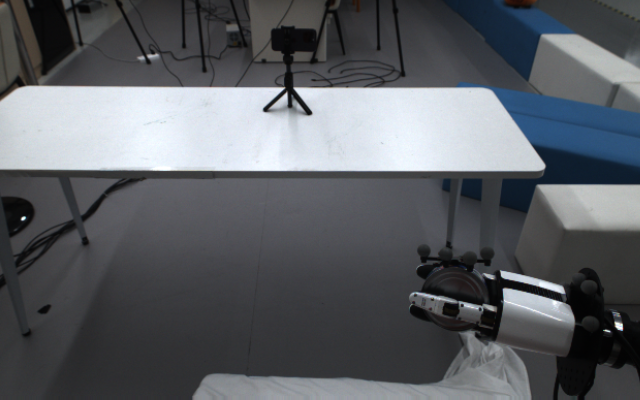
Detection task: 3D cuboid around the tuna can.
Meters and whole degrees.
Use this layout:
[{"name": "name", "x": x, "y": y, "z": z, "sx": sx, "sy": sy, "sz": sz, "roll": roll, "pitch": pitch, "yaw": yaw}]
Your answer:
[{"name": "tuna can", "x": 0.179, "y": 0.124, "z": 0.636, "sx": 0.085, "sy": 0.085, "sz": 0.034, "roll": 15, "pitch": 9, "yaw": 18}]
